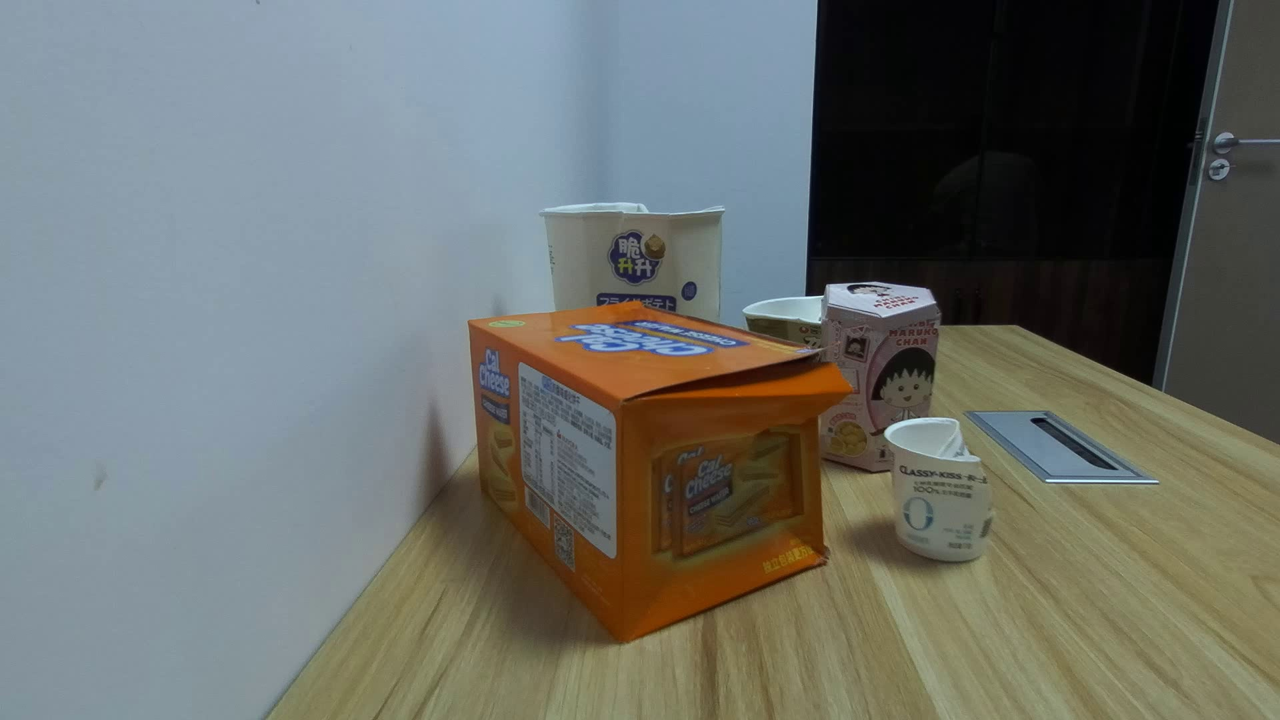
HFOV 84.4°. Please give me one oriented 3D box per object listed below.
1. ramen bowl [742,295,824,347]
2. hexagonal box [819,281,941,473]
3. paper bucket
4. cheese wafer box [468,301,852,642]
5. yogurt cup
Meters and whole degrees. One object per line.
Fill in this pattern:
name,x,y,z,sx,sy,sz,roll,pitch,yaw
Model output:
ramen bowl,0.174,-0.009,0.711,0.137,0.098,0.137,0,13,0
hexagonal box,0.186,0.011,0.563,0.092,0.135,0.085,-5,16,-14
paper bucket,0.010,-0.050,0.686,0.162,0.202,0.170,13,22,35
cheese wafer box,0.000,0.044,0.456,0.150,0.137,0.226,-9,17,-30
yogurt cup,0.181,0.079,0.430,0.067,0.070,0.067,-1,18,1
